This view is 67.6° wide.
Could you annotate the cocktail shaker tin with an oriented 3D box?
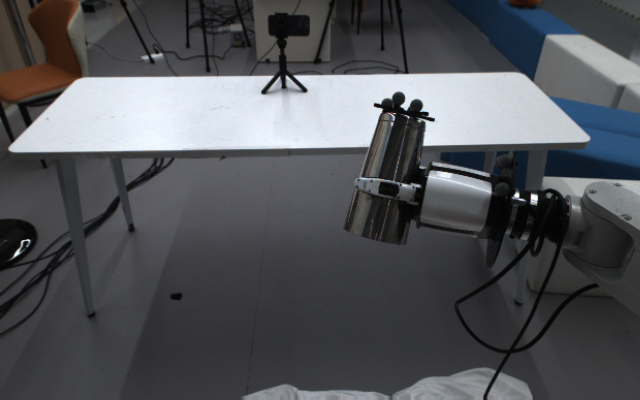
[{"bbox_3d":[0.098,-0.032,0.681,0.093,0.170,0.093,13,4,-1],"label":"cocktail shaker tin"}]
